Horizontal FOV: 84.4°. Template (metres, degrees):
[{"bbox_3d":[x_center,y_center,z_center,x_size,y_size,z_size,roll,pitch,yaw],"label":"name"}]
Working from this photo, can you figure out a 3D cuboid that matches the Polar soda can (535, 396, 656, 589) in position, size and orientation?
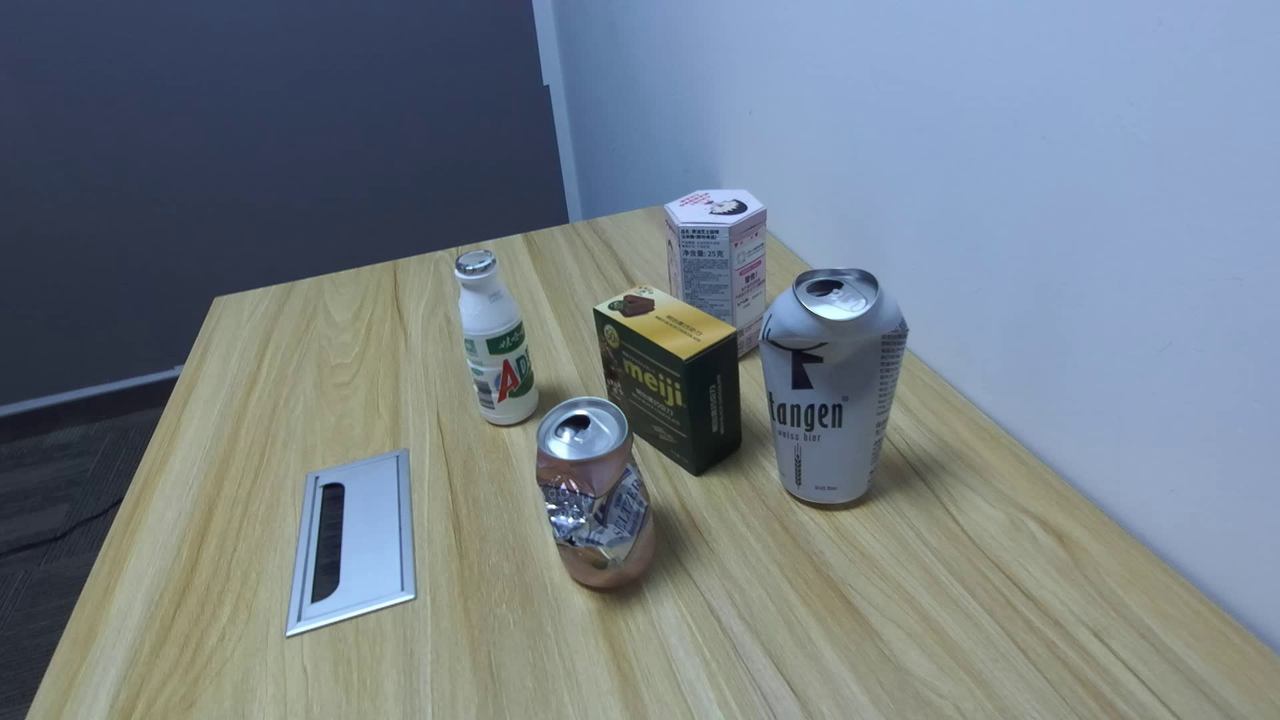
[{"bbox_3d":[-0.027,0.086,0.447,0.070,0.114,0.074,-23,34,-14],"label":"Polar soda can"}]

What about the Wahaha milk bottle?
[{"bbox_3d":[-0.120,-0.013,0.585,0.053,0.137,0.053,-4,35,3],"label":"Wahaha milk bottle"}]

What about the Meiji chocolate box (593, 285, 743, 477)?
[{"bbox_3d":[0.022,0.013,0.547,0.056,0.109,0.109,-29,39,-29],"label":"Meiji chocolate box"}]

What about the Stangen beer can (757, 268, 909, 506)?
[{"bbox_3d":[0.125,0.021,0.469,0.077,0.162,0.065,-25,38,-24],"label":"Stangen beer can"}]

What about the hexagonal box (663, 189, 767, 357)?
[{"bbox_3d":[0.069,-0.077,0.644,0.083,0.136,0.091,26,45,38],"label":"hexagonal box"}]
